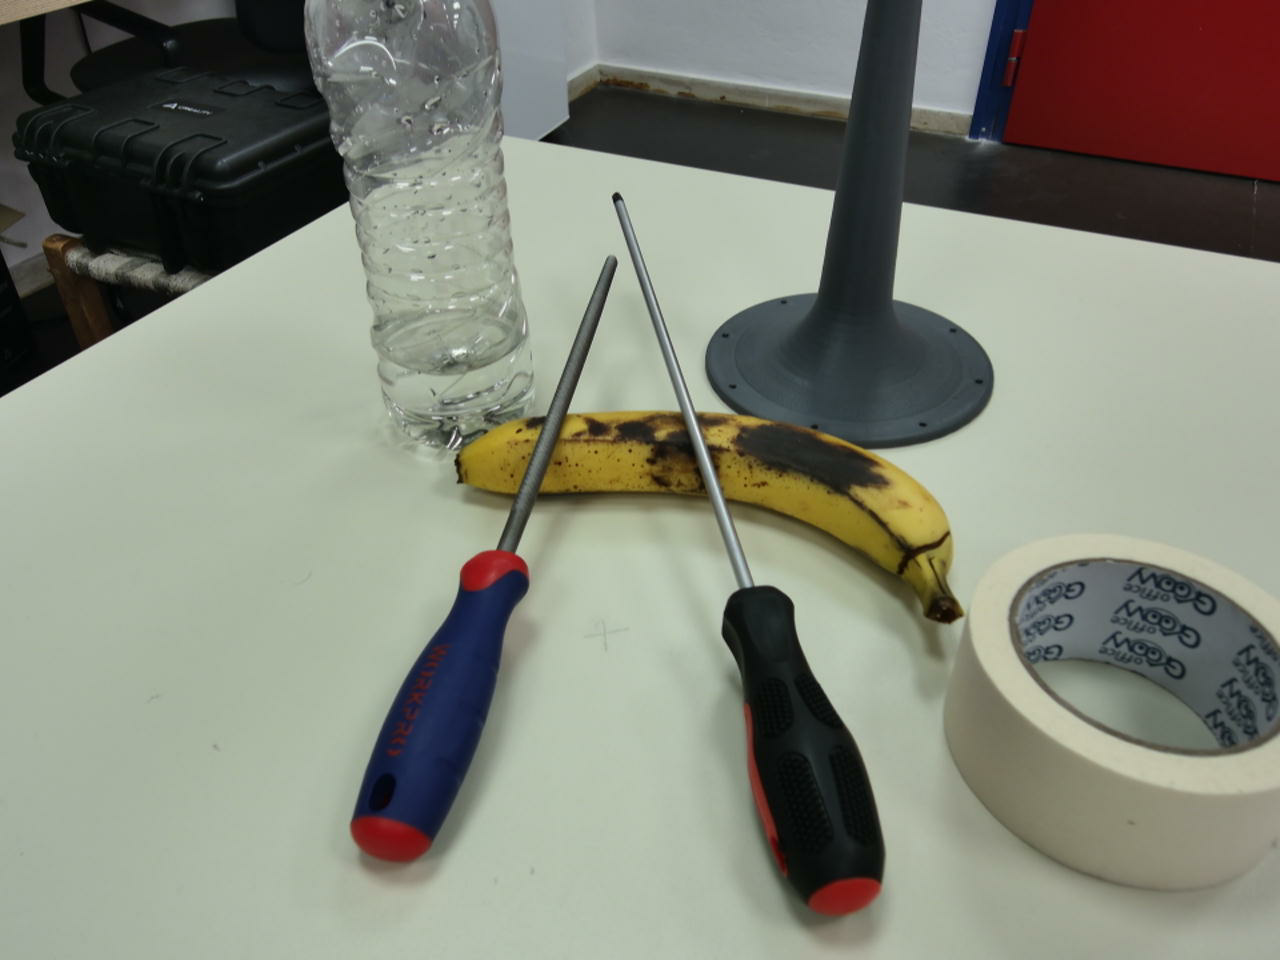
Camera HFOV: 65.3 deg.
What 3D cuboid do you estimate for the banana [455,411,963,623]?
[{"bbox_3d":[0.033,0.000,0.427,0.222,0.037,0.084,17,41,22],"label":"banana"}]
